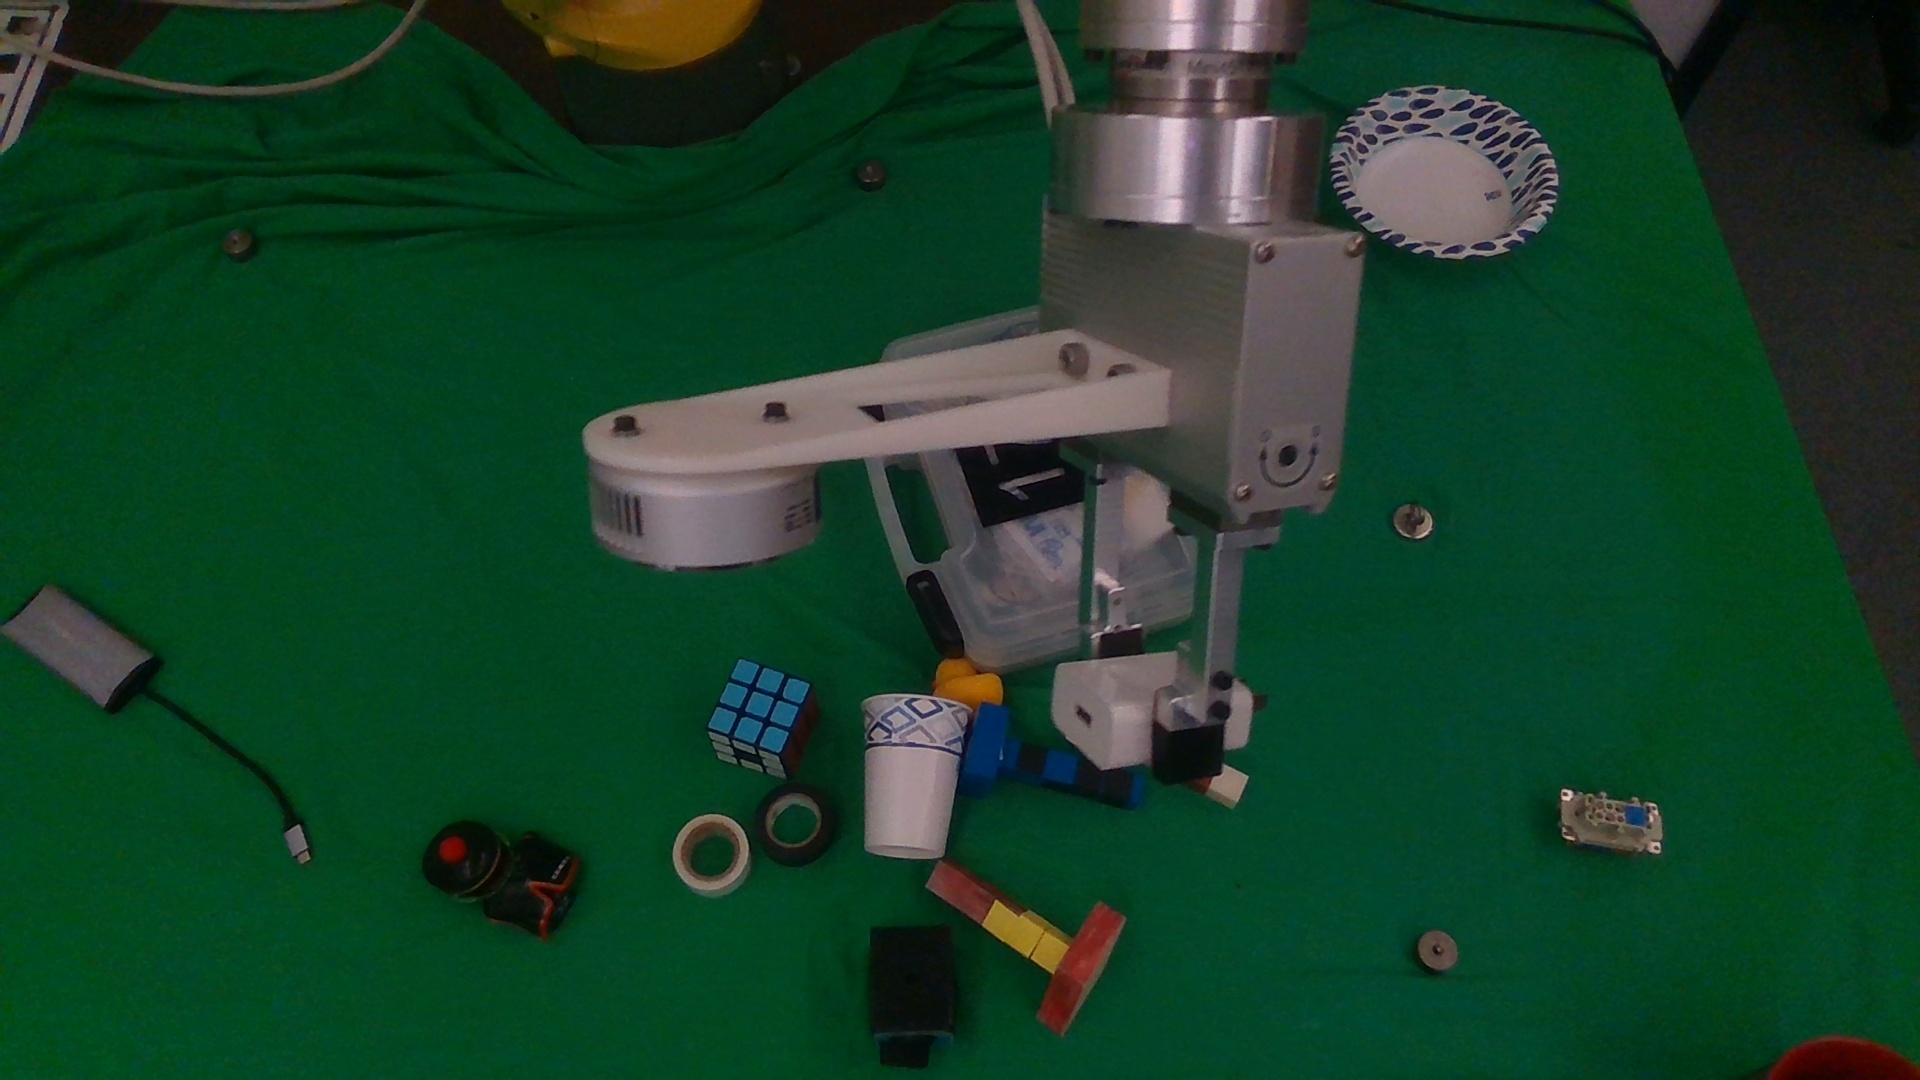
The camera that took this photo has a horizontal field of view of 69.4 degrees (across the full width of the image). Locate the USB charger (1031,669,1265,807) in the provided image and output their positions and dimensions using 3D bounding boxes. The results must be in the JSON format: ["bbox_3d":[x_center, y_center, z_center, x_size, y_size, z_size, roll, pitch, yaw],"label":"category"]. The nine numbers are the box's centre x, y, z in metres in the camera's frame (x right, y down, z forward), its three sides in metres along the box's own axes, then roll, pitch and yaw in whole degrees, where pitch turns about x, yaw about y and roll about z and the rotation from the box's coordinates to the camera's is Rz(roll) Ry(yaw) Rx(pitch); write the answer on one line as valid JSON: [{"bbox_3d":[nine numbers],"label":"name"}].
[{"bbox_3d":[0.063,0.062,0.459,0.075,0.029,0.045,-6,28,-15],"label":"USB charger"}]

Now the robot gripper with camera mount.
[{"bbox_3d":[-0.010,0.001,0.399,0.193,0.158,0.119,-4,19,-24],"label":"robot gripper with camera mount"}]
